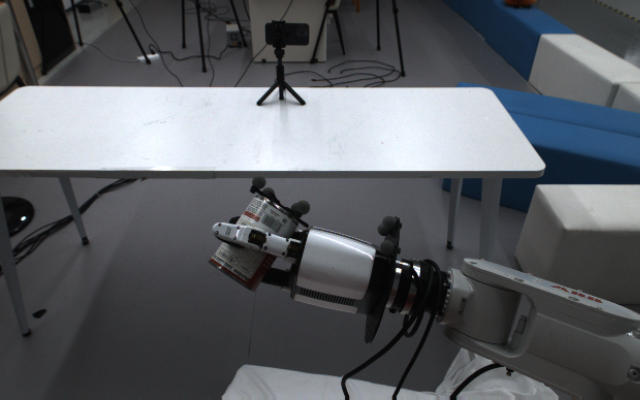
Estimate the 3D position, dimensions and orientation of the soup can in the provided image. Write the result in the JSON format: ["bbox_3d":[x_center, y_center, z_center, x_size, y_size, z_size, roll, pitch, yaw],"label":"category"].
[{"bbox_3d":[-0.080,0.054,0.601,0.067,0.067,0.101,26,76,30],"label":"soup can"}]
